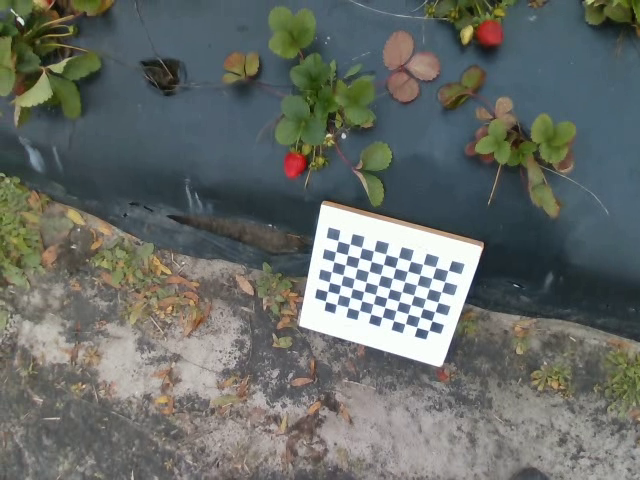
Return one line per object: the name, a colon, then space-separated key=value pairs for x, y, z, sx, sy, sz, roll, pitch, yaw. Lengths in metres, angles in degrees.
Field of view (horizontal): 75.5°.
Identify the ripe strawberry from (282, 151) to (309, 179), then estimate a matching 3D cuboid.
ripe strawberry: x=-0.011 y=-0.041 z=0.204 sx=0.018 sy=0.017 sz=0.014 roll=16 pitch=-17 yaw=-4
